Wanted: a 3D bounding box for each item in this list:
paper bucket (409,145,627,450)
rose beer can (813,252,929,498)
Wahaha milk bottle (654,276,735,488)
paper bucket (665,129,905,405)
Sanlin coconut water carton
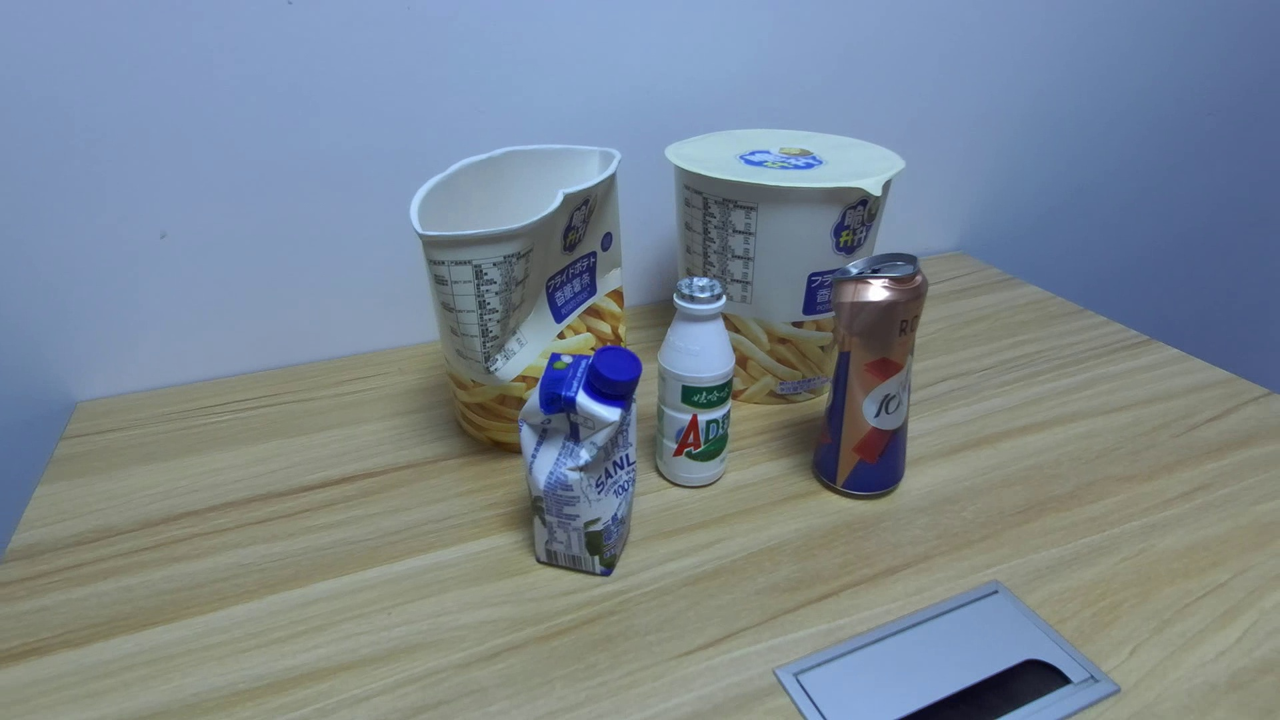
[{"bbox_3d":[-0.079,-0.052,0.549,0.148,0.199,0.217,-3,31,-7],"label":"paper bucket"},{"bbox_3d":[0.157,0.012,0.478,0.070,0.168,0.069,-6,28,-4],"label":"rose beer can"},{"bbox_3d":[0.038,0.017,0.483,0.053,0.147,0.053,1,29,0],"label":"Wahaha milk bottle"},{"bbox_3d":[0.114,-0.081,0.609,0.198,0.195,0.198,0,30,0],"label":"paper bucket"},{"bbox_3d":[-0.034,0.057,0.417,0.070,0.144,0.061,9,32,12],"label":"Sanlin coconut water carton"}]
